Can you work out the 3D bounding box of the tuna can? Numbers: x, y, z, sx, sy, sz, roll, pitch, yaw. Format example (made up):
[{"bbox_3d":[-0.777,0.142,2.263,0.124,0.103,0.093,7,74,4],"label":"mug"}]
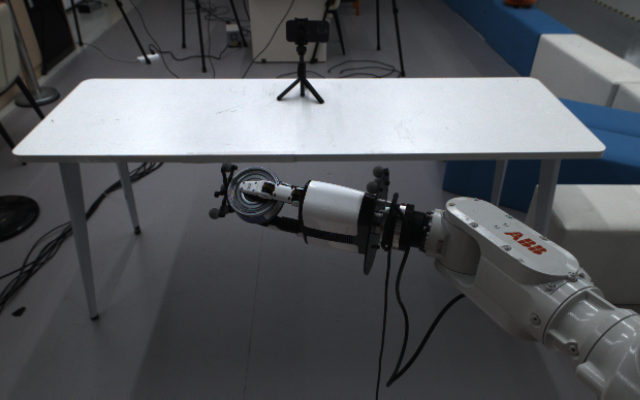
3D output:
[{"bbox_3d":[-0.098,-0.009,0.751,0.085,0.034,0.085,-2,69,6],"label":"tuna can"}]
